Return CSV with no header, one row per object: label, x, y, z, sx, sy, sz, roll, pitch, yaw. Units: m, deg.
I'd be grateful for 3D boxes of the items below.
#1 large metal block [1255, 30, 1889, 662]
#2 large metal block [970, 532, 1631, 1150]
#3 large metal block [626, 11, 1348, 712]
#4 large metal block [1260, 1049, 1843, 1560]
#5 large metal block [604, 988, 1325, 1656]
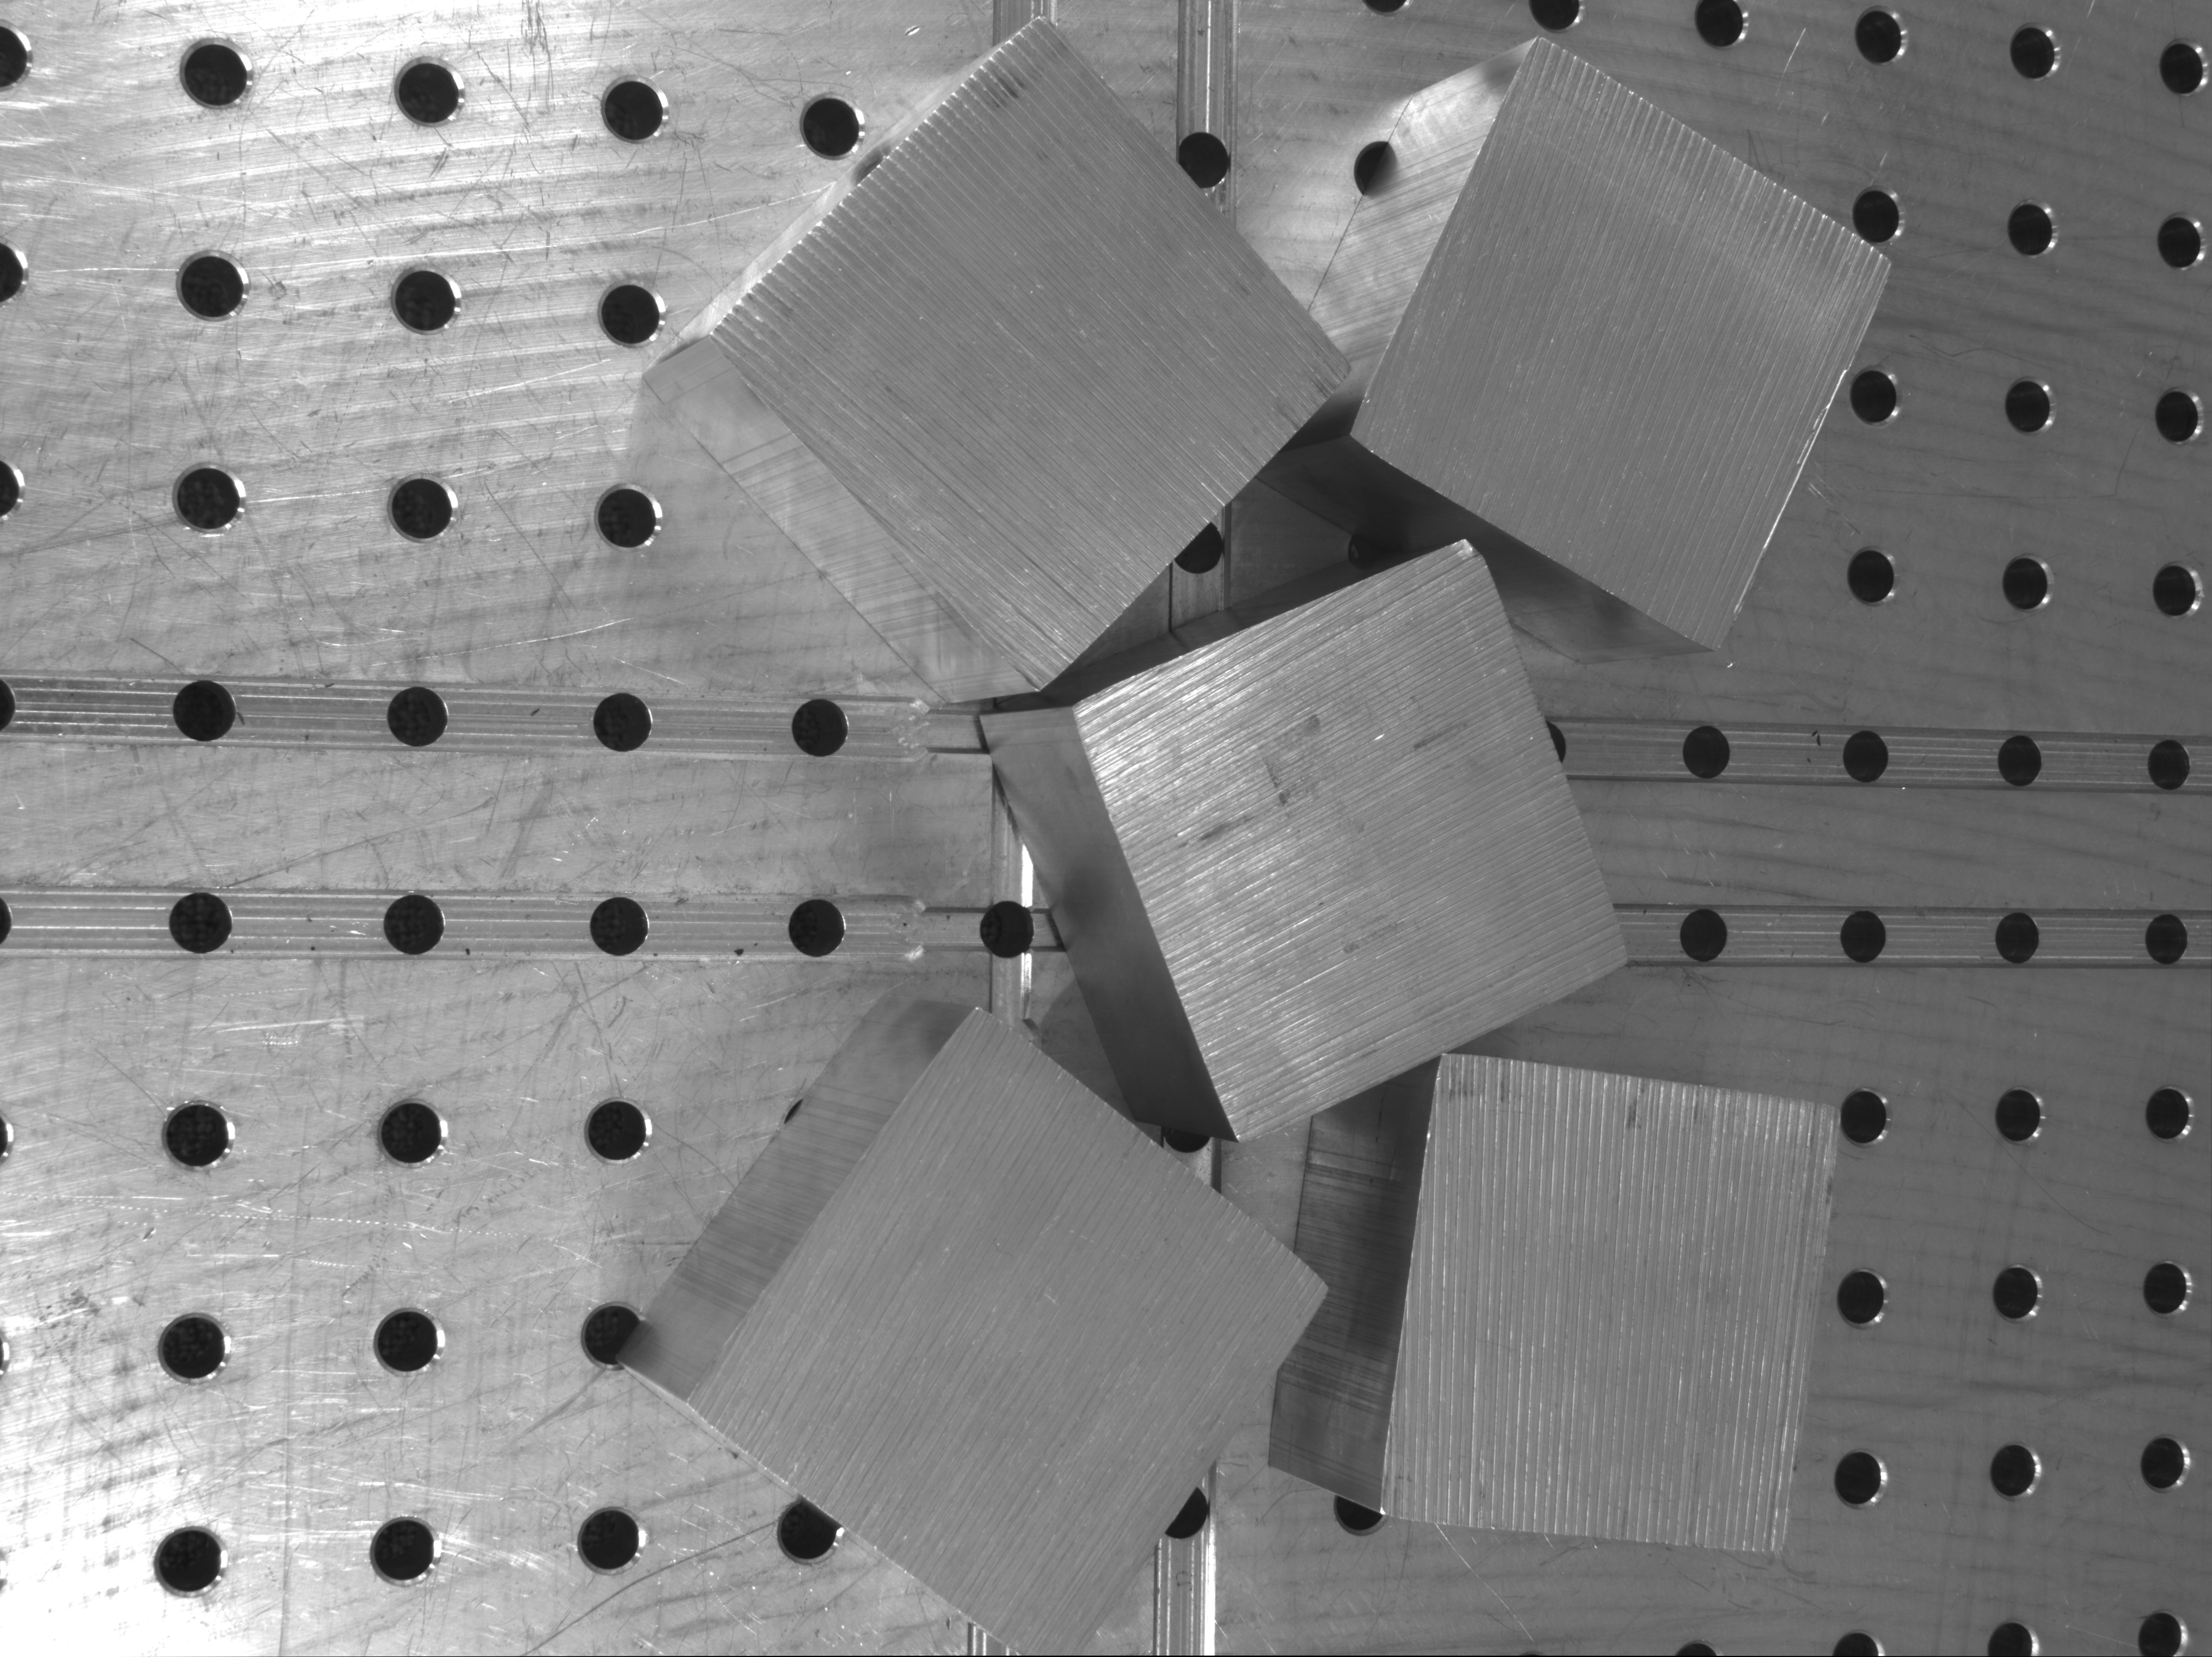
large metal block,0.081,-0.084,0.661,0.080,0.050,0.080,28,81,-20
large metal block,0.034,0.001,0.644,0.080,0.050,0.080,-24,98,-18
large metal block,-0.021,-0.077,0.625,0.080,0.050,0.080,-46,103,-14
large metal block,0.080,0.084,0.661,0.080,0.050,0.080,10,86,-20
large metal block,-0.024,0.084,0.622,0.080,0.050,0.080,39,77,-15
